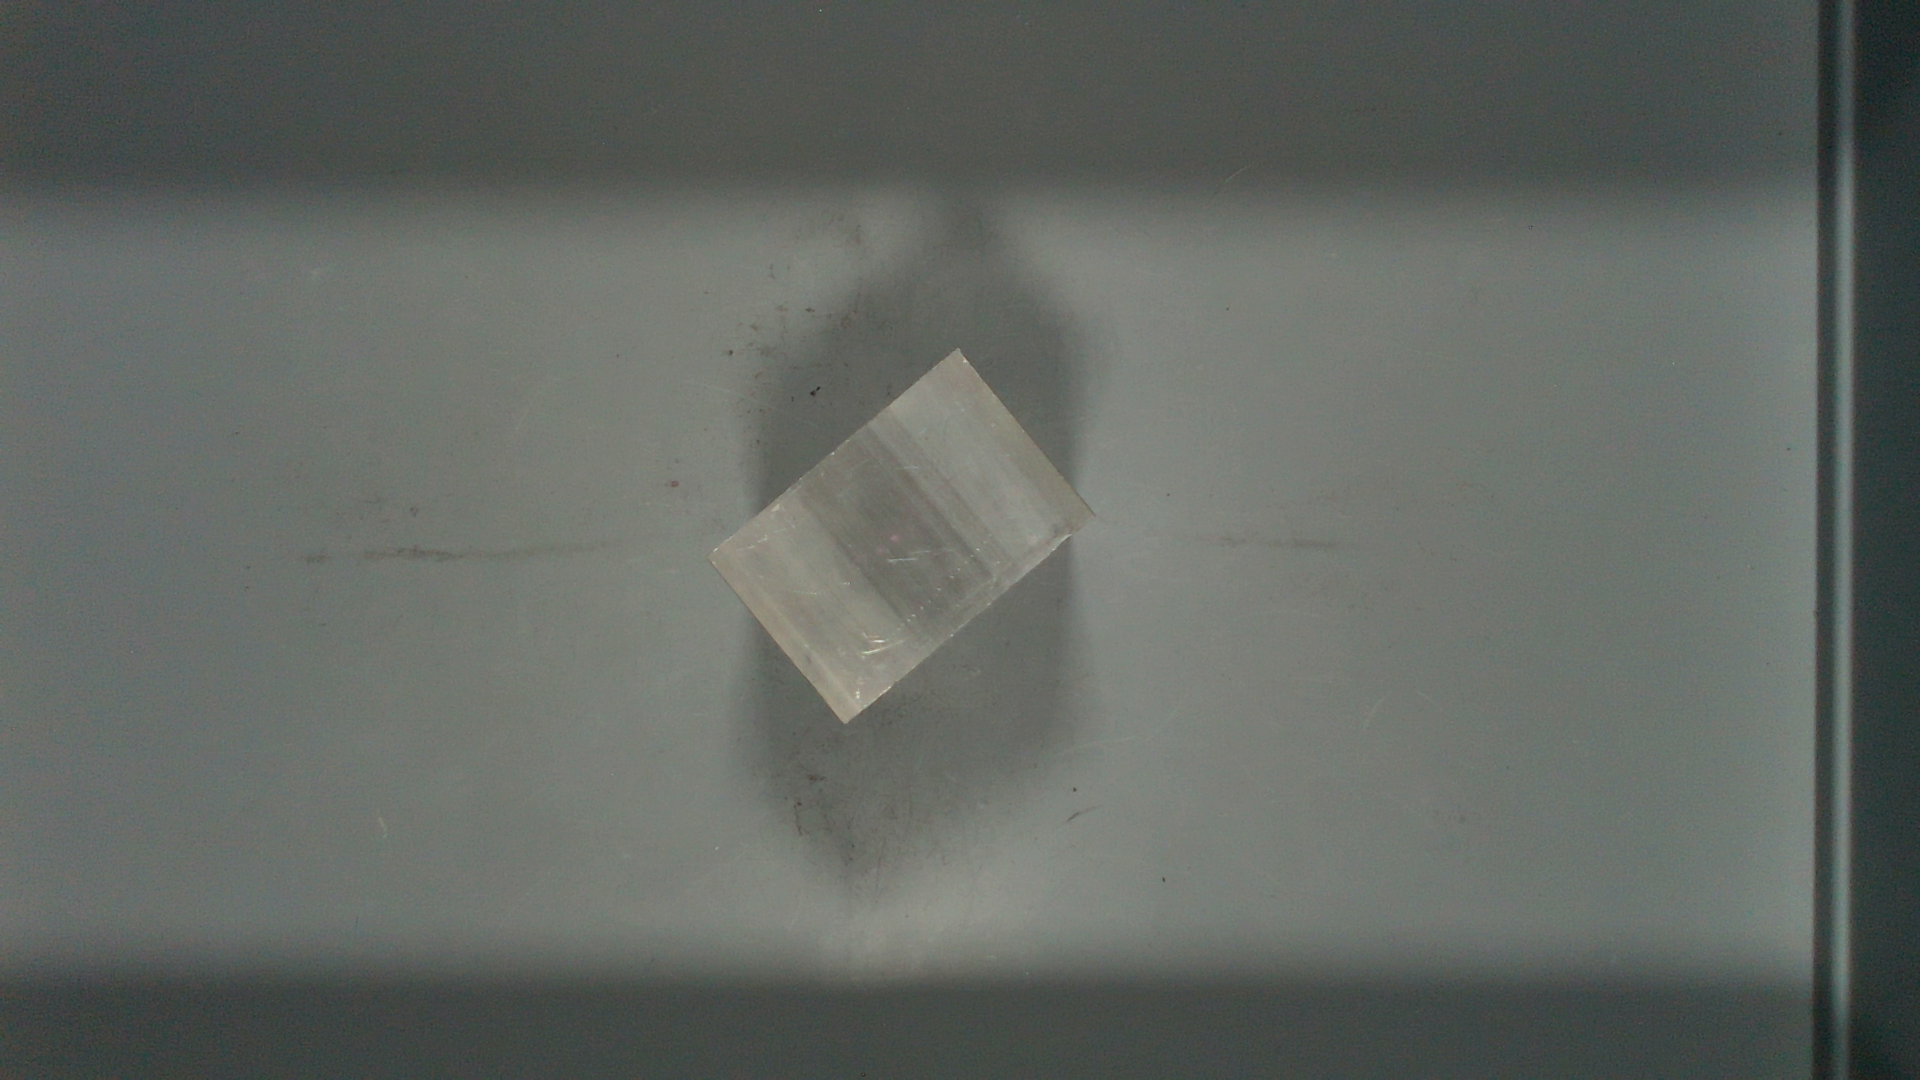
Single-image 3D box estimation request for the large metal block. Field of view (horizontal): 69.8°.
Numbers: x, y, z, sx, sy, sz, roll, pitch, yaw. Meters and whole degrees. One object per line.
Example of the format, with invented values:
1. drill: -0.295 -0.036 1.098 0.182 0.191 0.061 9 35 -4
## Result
1. large metal block: -0.013 -0.001 0.365 0.080 0.080 0.050 -40 90 0
